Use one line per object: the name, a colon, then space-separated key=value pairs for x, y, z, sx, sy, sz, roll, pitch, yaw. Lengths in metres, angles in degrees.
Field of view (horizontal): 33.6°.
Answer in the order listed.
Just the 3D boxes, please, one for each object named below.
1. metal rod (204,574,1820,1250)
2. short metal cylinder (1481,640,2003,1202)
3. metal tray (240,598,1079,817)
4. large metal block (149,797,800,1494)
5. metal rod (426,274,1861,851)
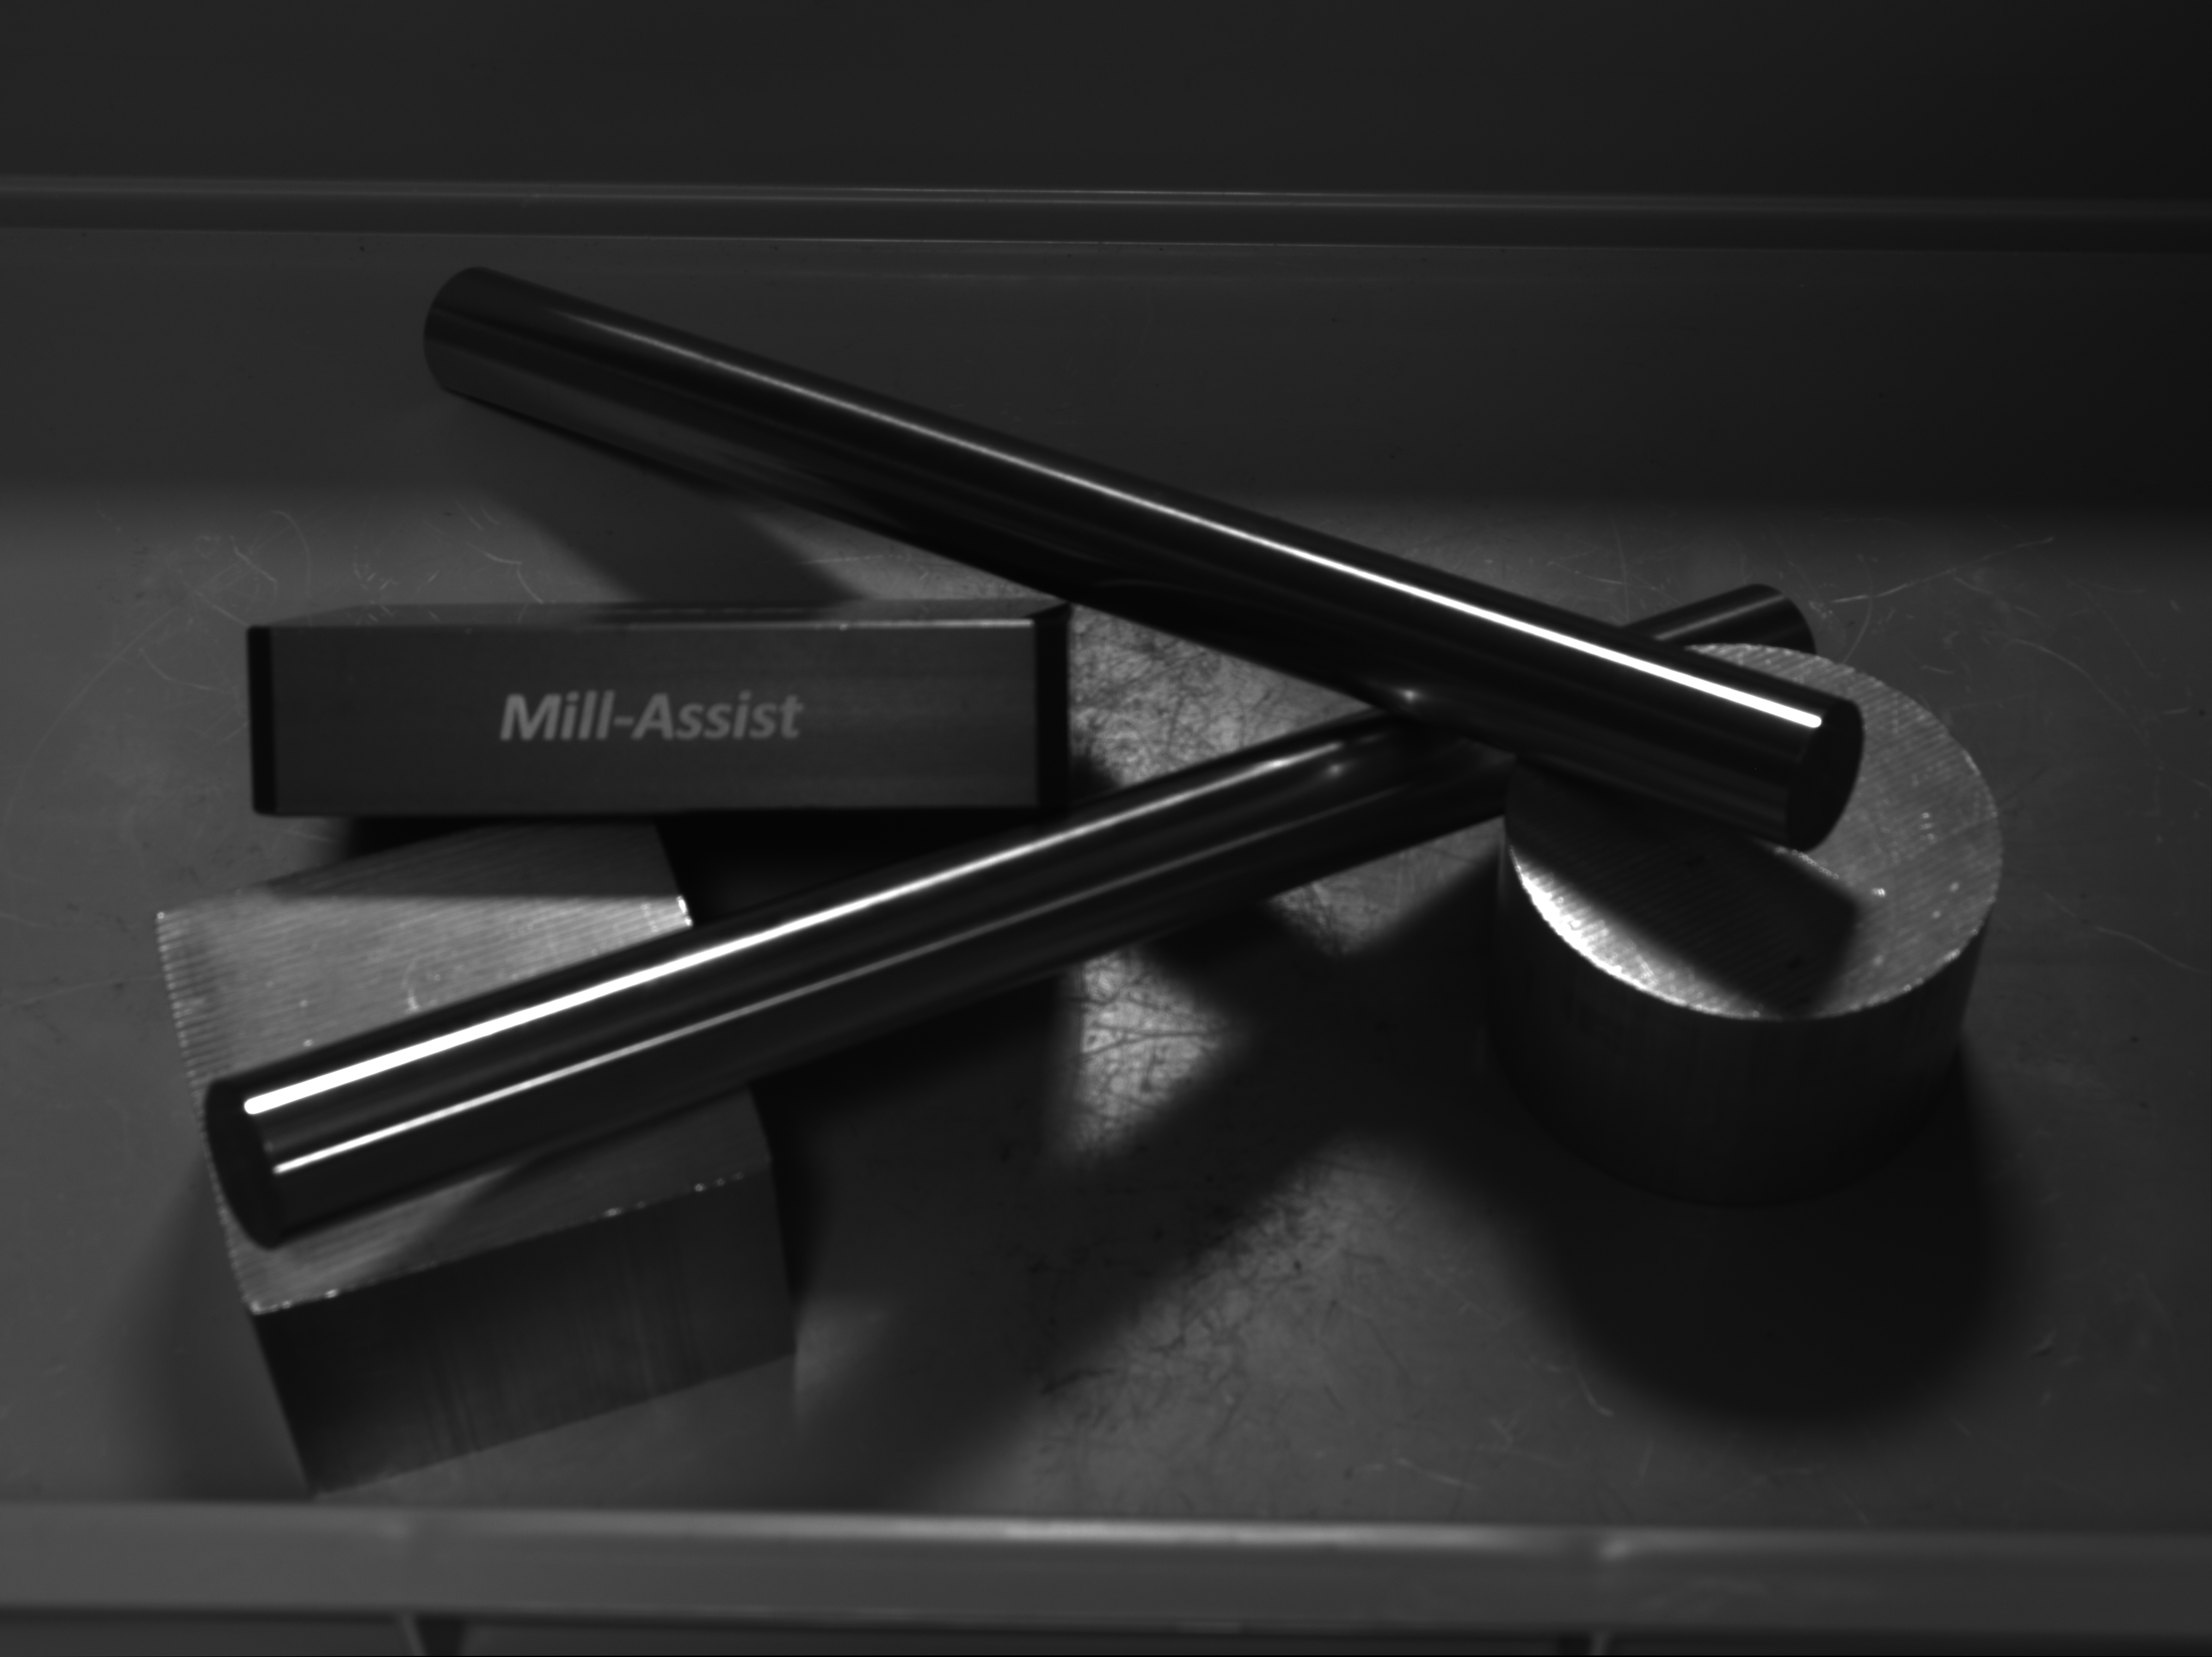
metal rod: x=0.001 y=0.006 z=0.587 sx=0.301 sy=0.025 sz=0.025 roll=-19 pitch=51 yaw=-32
short metal cylinder: x=0.105 y=0.015 z=0.611 sx=0.080 sy=0.050 sz=0.080 roll=0 pitch=50 yaw=0
metal tray: x=-0.071 y=-0.022 z=0.620 sx=0.130 sy=0.030 sz=0.090 roll=-1 pitch=6 yaw=1
large metal block: x=-0.100 y=0.048 z=0.580 sx=0.080 sy=0.050 sz=0.080 roll=-15 pitch=51 yaw=-12
metal rod: x=-0.007 y=-0.053 z=0.647 sx=0.299 sy=0.025 sz=0.025 roll=21 pitch=52 yaw=32
